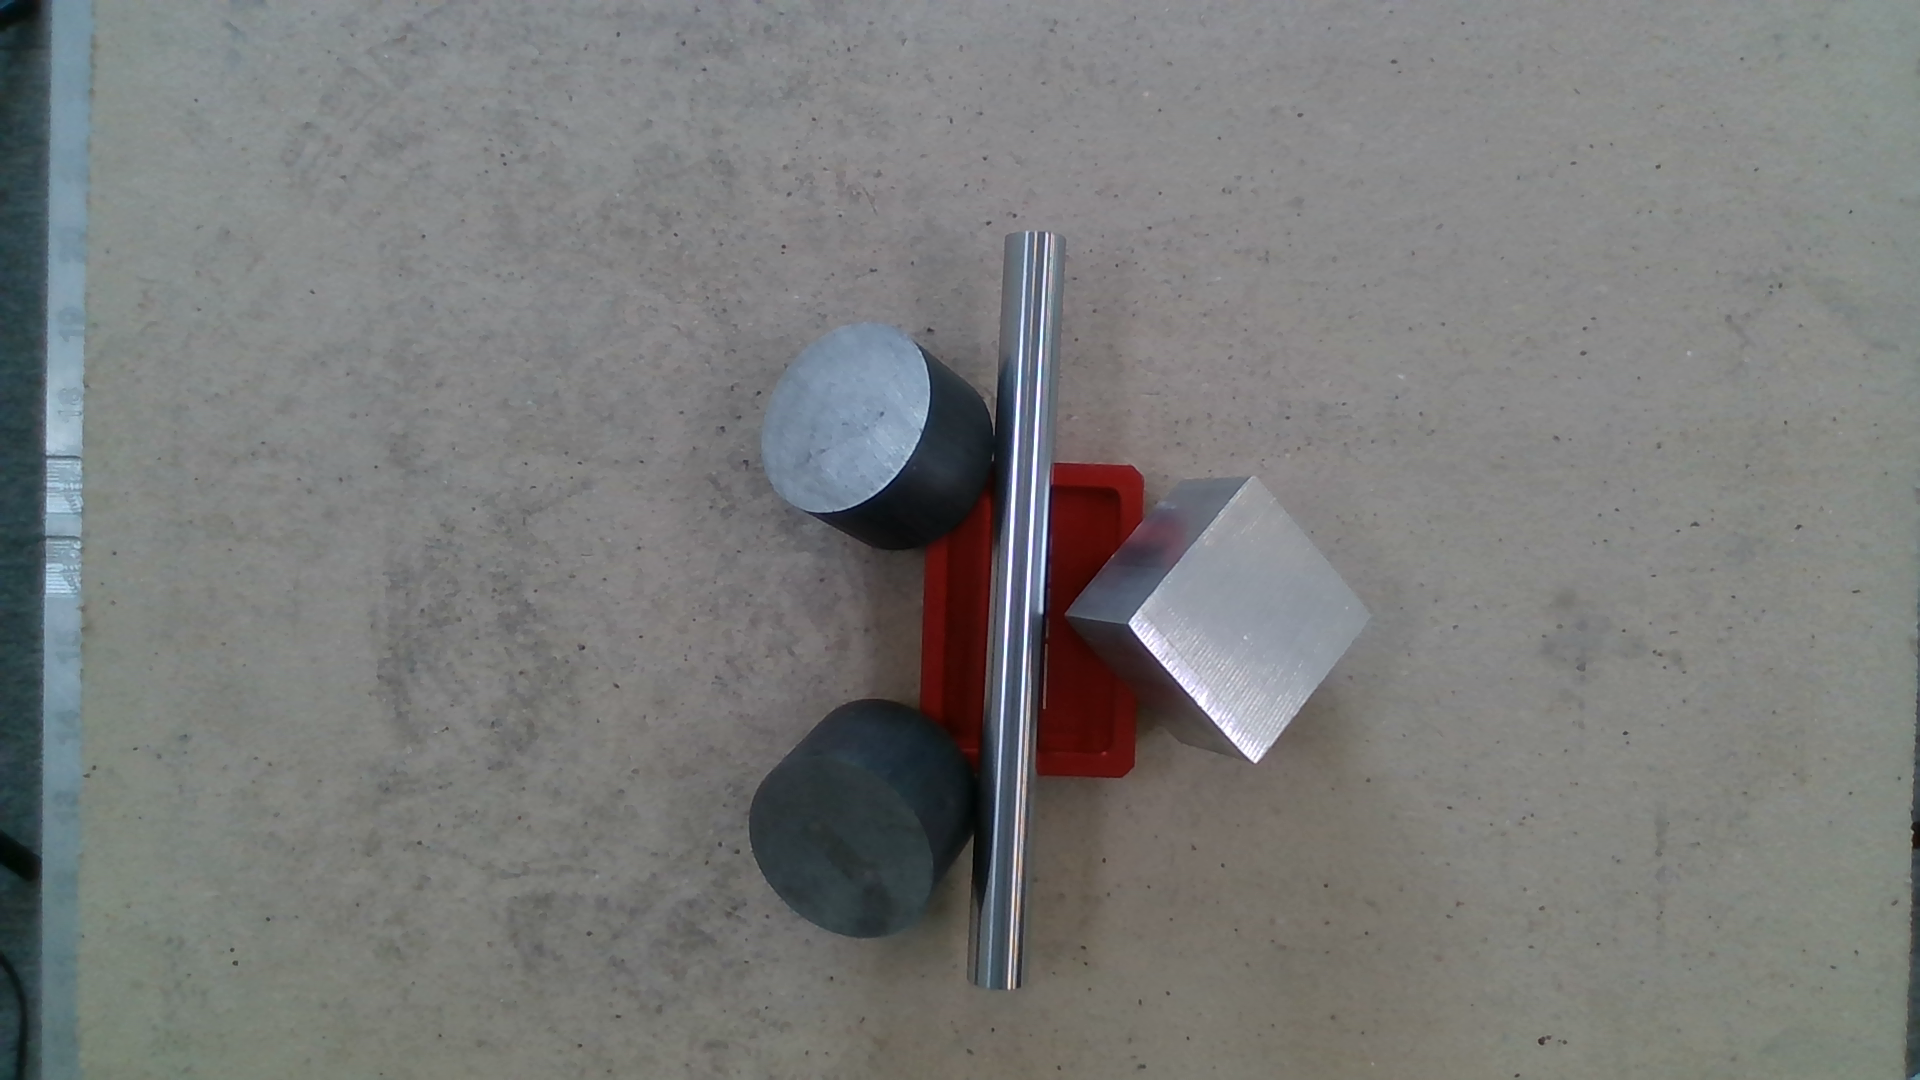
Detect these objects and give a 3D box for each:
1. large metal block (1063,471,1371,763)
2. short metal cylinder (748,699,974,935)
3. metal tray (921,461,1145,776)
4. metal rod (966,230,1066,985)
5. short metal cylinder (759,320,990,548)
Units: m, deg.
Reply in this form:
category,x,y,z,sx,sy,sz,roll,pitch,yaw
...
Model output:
category,x,y,z,sx,sy,sz,roll,pitch,yaw
large metal block,0.103,0.030,0.554,0.080,0.050,0.080,47,74,-17
short metal cylinder,-0.039,0.112,0.560,0.080,0.050,0.080,8,112,20
metal tray,0.030,0.032,0.586,0.090,0.030,0.130,2,91,0
metal rod,0.023,0.027,0.558,0.025,0.025,0.300,3,91,0
short metal cylinder,-0.034,-0.041,0.556,0.080,0.050,0.080,-11,68,28
